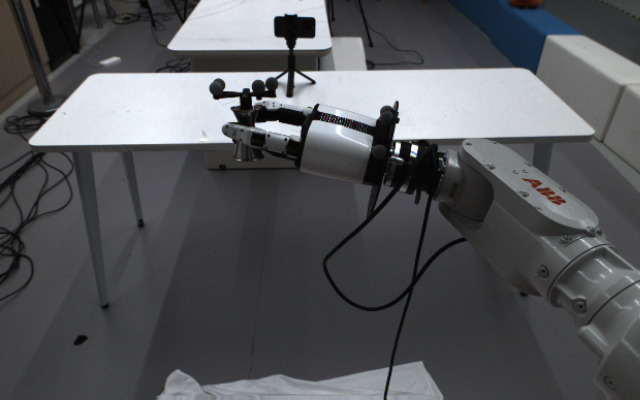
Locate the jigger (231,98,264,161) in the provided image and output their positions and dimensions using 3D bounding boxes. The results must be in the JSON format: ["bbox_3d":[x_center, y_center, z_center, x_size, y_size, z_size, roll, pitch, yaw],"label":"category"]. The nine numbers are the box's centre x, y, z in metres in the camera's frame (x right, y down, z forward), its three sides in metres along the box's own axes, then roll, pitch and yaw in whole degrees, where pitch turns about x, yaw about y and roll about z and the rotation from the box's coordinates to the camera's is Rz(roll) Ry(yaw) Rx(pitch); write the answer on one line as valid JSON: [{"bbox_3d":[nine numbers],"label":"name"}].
[{"bbox_3d":[-0.098,-0.089,0.647,0.043,0.071,0.043,0,21,0],"label":"jigger"}]
